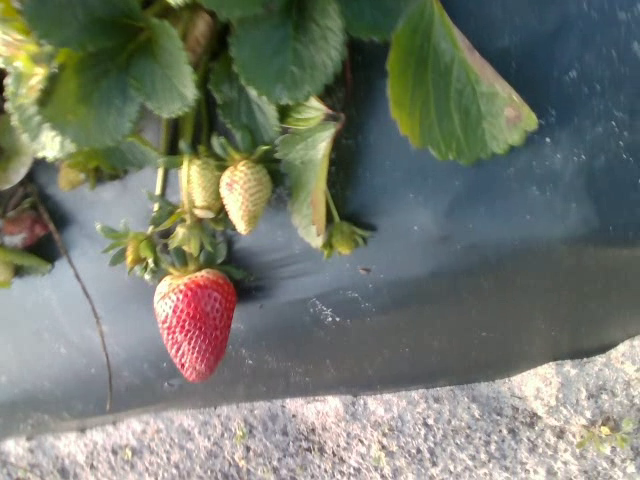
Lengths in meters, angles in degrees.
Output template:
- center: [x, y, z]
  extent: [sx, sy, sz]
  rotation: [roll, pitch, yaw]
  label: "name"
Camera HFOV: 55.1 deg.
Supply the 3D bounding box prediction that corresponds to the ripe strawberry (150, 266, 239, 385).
- center: [-0.075, 0.052, 0.365]
  extent: [0.052, 0.068, 0.044]
  rotation: [-13, -6, 23]
  label: "ripe strawberry"
